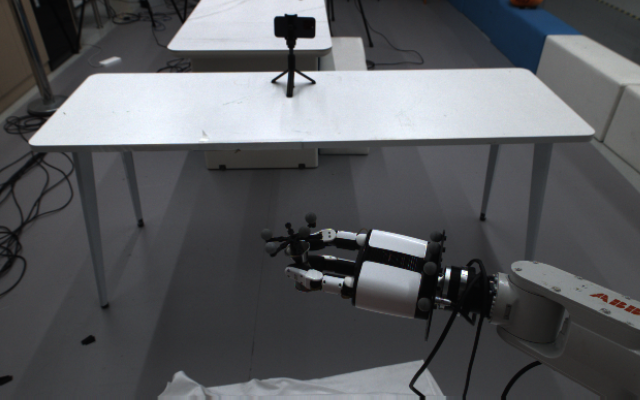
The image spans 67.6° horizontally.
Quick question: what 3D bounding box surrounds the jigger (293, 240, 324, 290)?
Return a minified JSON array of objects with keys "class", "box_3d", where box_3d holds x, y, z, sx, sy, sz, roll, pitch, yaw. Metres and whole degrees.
[{"class":"jigger","box_3d":[-0.025,0.098,0.724,0.043,0.071,0.043,-12,29,7]}]
